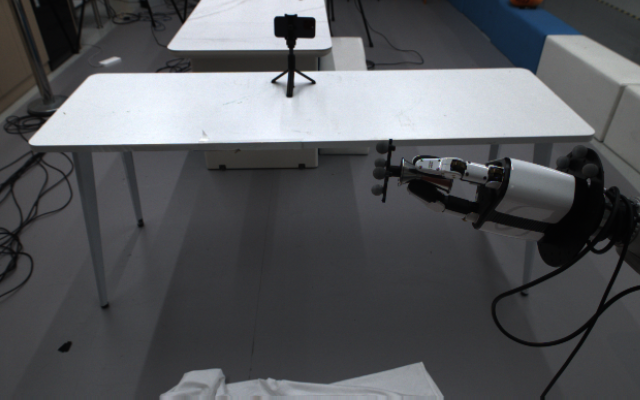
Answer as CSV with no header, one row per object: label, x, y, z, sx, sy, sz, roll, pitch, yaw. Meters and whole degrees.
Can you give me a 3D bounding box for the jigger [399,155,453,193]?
jigger,0.149,-0.039,0.654,0.071,0.043,0.043,5,35,4
